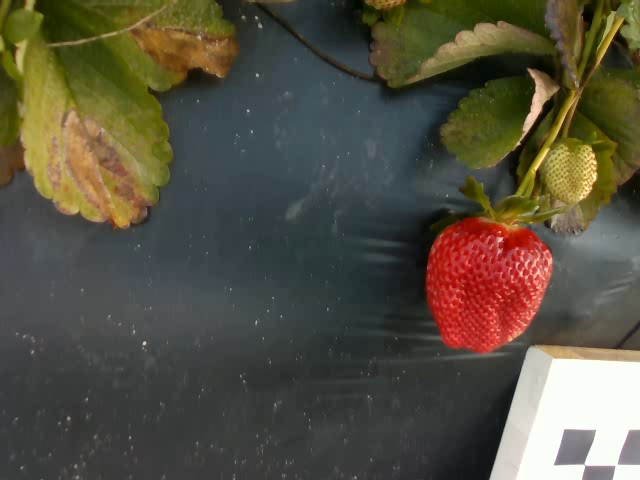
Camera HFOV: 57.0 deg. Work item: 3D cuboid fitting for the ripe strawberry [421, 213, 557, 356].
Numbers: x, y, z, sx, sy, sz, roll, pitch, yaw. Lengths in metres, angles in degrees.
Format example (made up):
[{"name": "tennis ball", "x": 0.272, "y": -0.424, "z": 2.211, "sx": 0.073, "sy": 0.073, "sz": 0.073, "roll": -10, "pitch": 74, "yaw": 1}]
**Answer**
[{"name": "ripe strawberry", "x": 0.082, "y": 0.023, "z": 0.288, "sx": 0.067, "sy": 0.075, "sz": 0.039, "roll": 12, "pitch": 7, "yaw": -17}]
